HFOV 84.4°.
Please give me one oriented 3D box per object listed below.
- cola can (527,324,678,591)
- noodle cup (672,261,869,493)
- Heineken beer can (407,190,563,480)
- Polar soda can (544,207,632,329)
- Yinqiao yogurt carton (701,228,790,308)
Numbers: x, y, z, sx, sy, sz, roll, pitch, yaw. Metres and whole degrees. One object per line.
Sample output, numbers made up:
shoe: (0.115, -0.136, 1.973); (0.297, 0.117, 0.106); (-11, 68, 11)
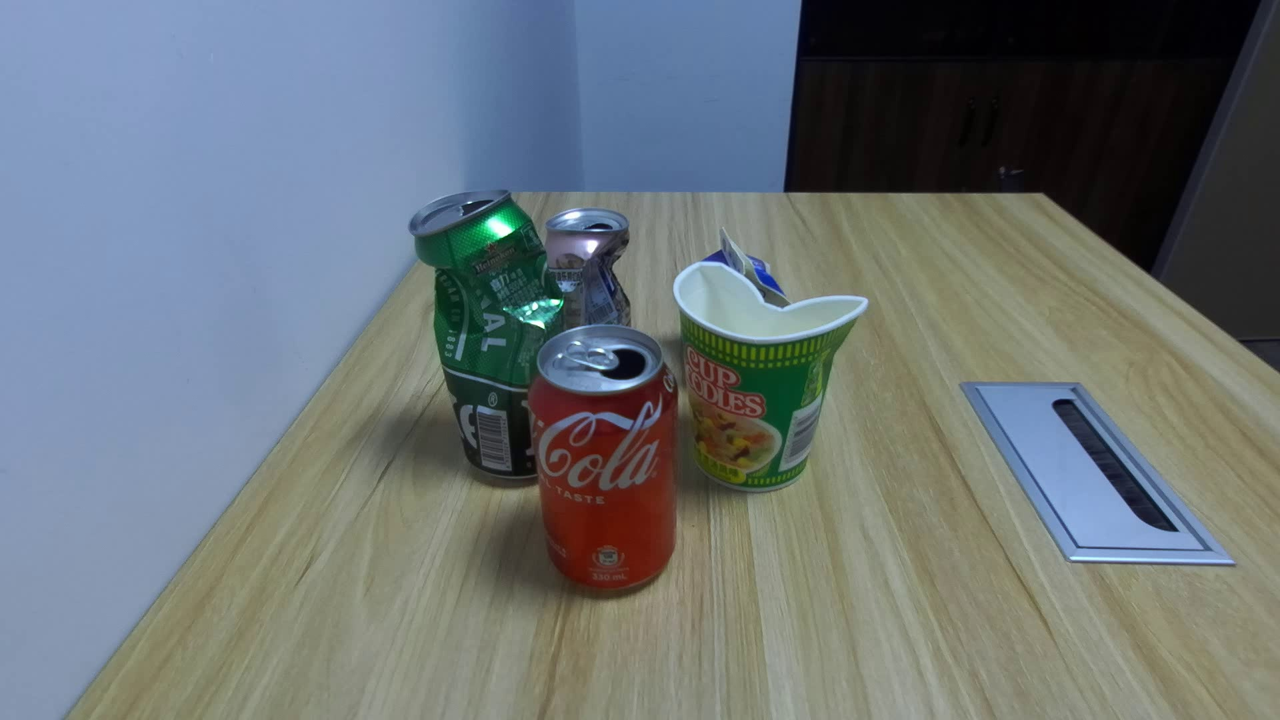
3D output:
cola can: (-0.016, 0.050, 0.341); (0.068, 0.120, 0.068); (-3, 22, 1)
noodle cup: (0.061, 0.011, 0.393); (0.087, 0.109, 0.093); (-25, 40, -33)
Heineken beer can: (-0.077, -0.013, 0.399); (0.079, 0.159, 0.067); (-5, 30, 4)
Polar soda can: (-0.036, -0.046, 0.491); (0.070, 0.114, 0.074); (-11, 34, -25)
Yinqiao yogurt carton: (0.070, -0.042, 0.518); (0.071, 0.094, 0.077); (-10, 32, -1)
